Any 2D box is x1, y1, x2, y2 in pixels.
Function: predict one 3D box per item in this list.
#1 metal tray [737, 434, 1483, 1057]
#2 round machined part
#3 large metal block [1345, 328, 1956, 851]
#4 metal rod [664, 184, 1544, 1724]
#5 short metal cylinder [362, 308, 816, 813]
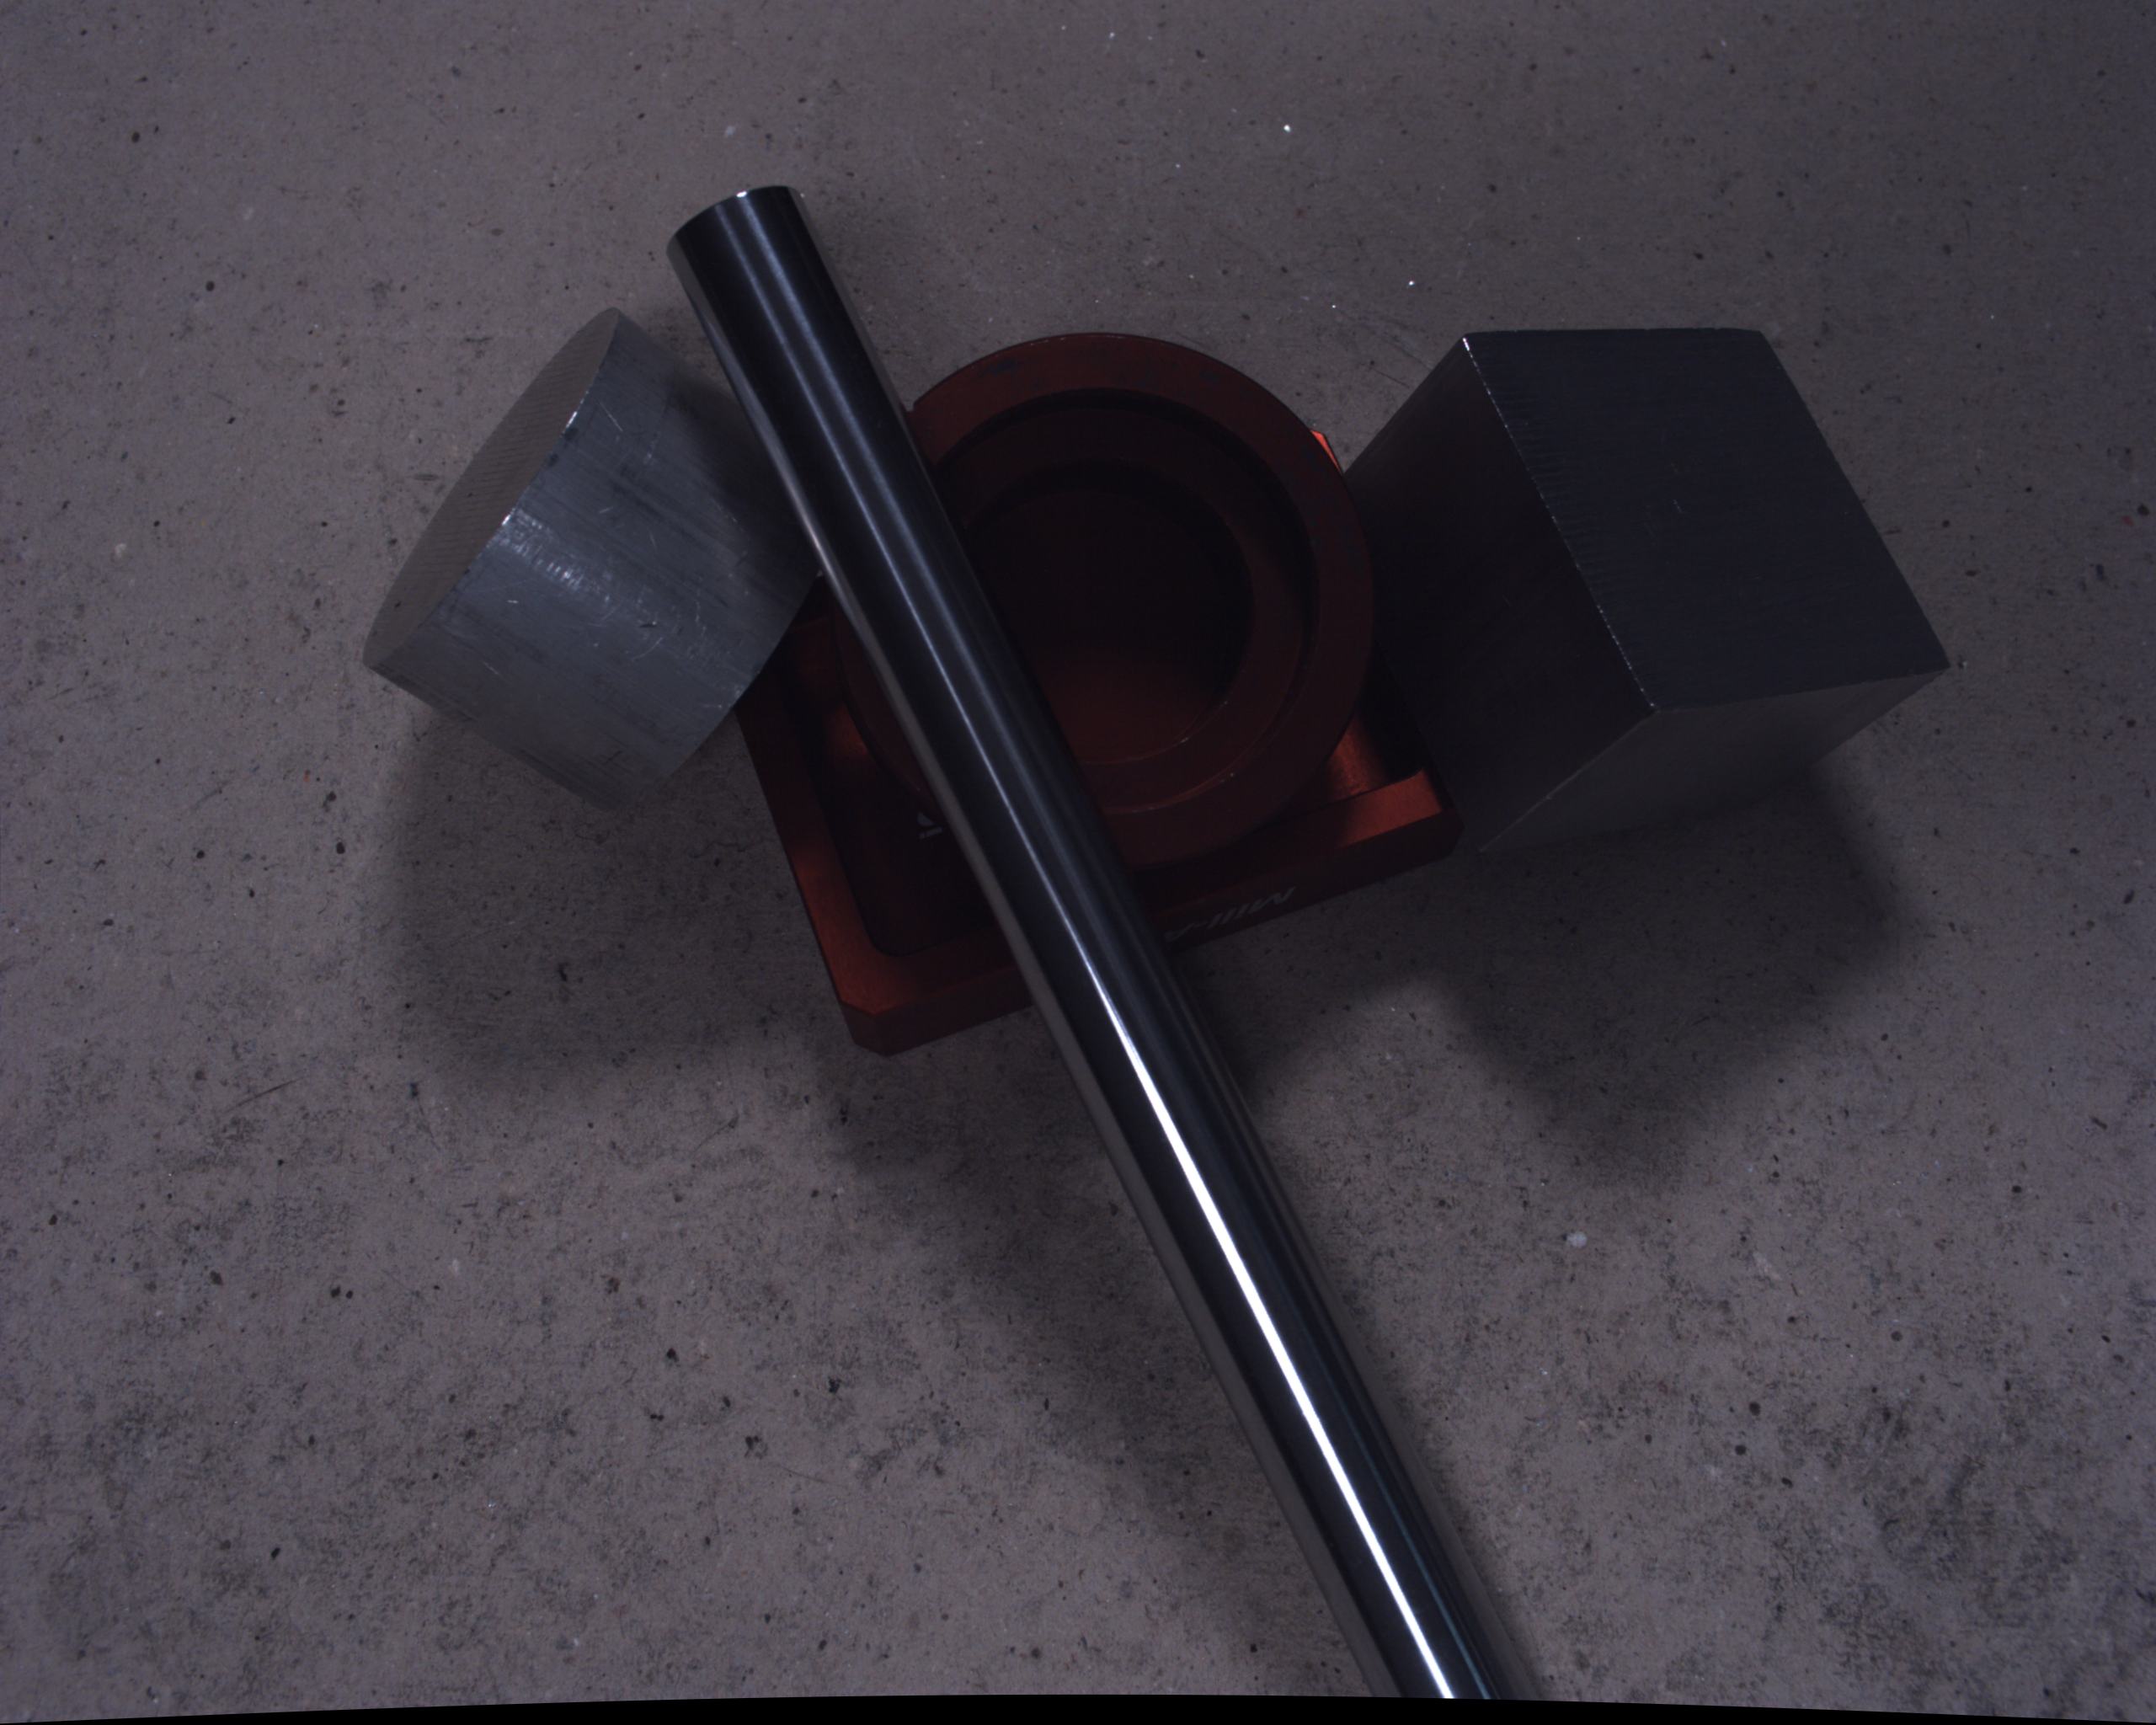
[{"bbox_3d":[0.003,-0.026,0.416,0.131,0.030,0.090,-19,71,-8],"label":"metal tray"},{"bbox_3d":[0.003,-0.046,0.392,0.099,0.042,0.097,0,85,-5],"label":"round machined part"},{"bbox_3d":[0.105,-0.054,0.399,0.081,0.050,0.080,-10,68,-32],"label":"large metal block"},{"bbox_3d":[0.006,0.026,0.354,0.025,0.025,0.299,-26,89,-9],"label":"metal rod"},{"bbox_3d":[-0.089,-0.056,0.393,0.050,0.080,0.080,35,69,-26],"label":"short metal cylinder"}]
